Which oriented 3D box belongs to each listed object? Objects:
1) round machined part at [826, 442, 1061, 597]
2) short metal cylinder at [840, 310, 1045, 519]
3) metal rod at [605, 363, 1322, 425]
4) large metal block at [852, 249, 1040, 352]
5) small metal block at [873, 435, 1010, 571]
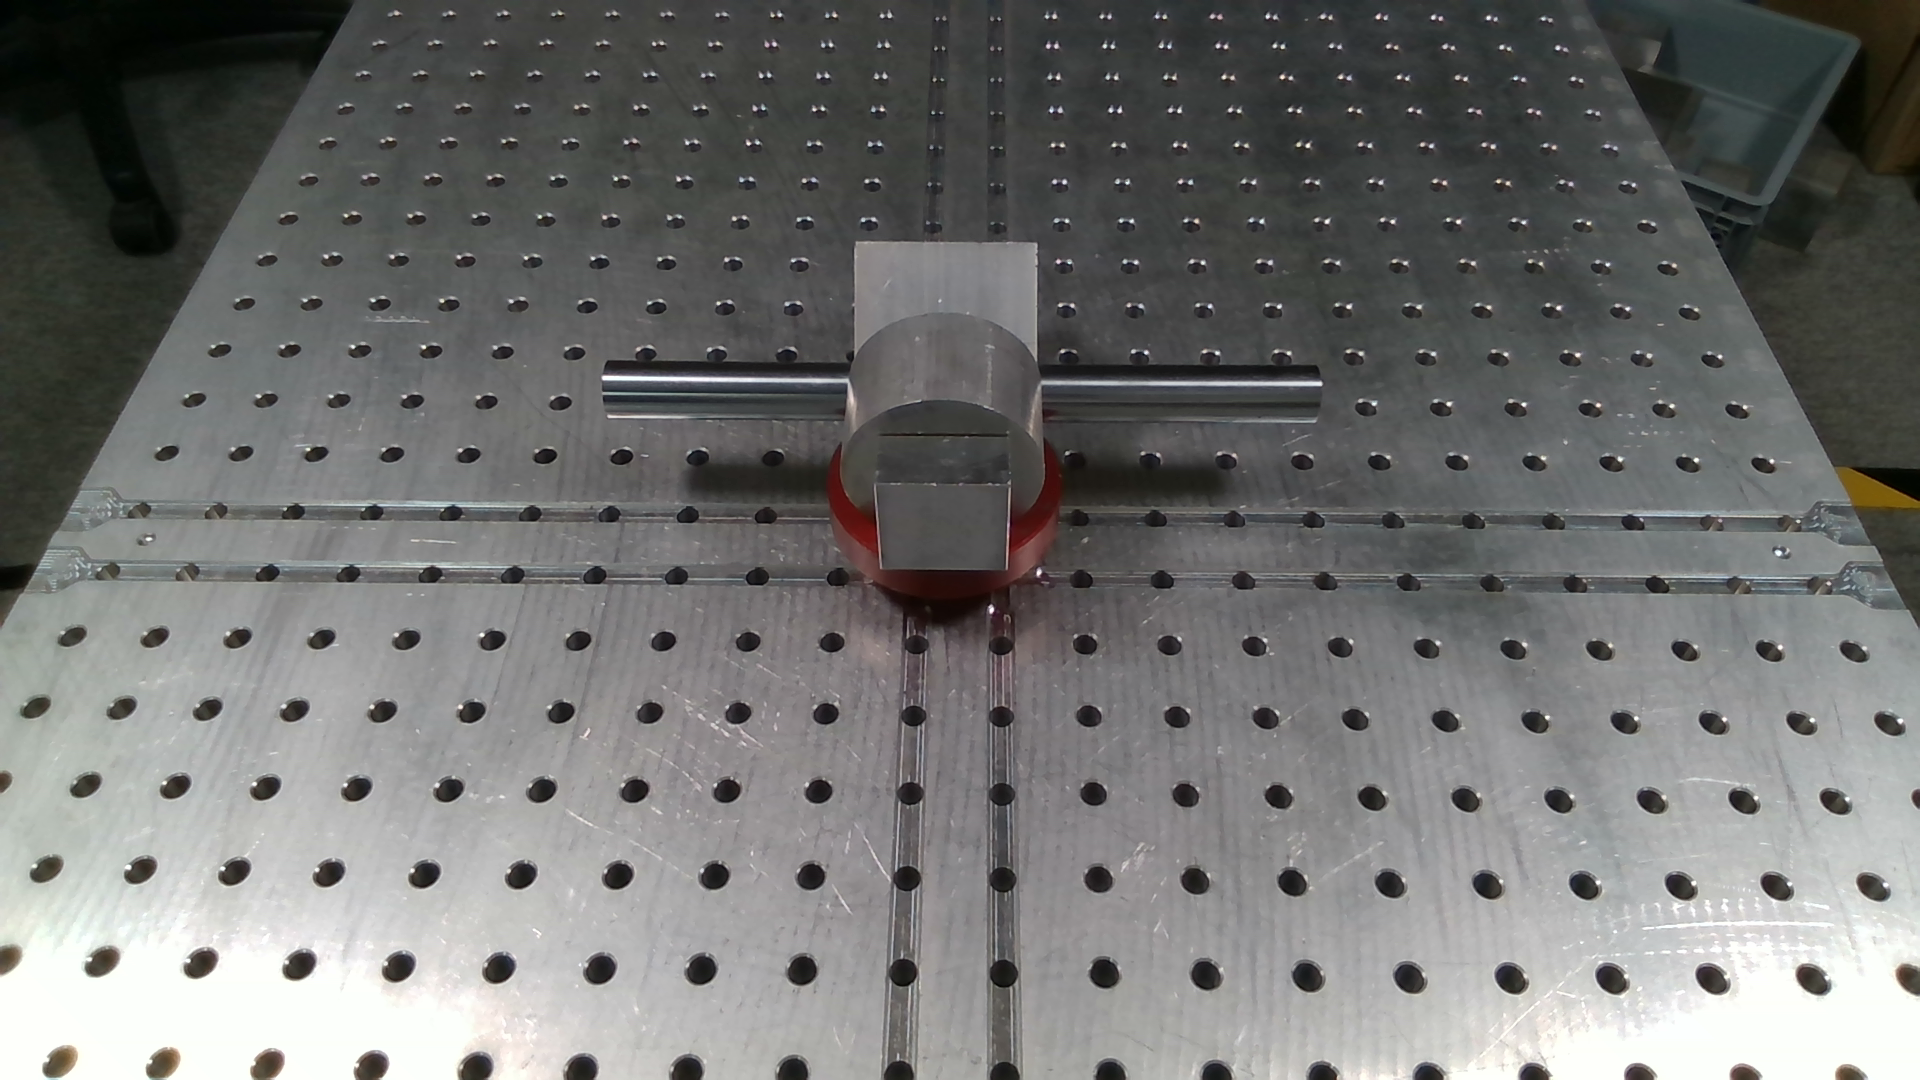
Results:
[{"bbox_3d":[-0.007,-0.014,0.589,0.098,0.042,0.098,0,50,0],"label":"round machined part"},{"bbox_3d":[-0.006,-0.045,0.552,0.080,0.080,0.050,0,50,0],"label":"short metal cylinder"},{"bbox_3d":[0.001,-0.063,0.588,0.300,0.025,0.025,0,50,0],"label":"metal rod"},{"bbox_3d":[-0.006,-0.100,0.630,0.080,0.080,0.050,1,91,1],"label":"large metal block"},{"bbox_3d":[-0.007,-0.014,0.530,0.050,0.050,0.025,1,50,1],"label":"small metal block"}]
